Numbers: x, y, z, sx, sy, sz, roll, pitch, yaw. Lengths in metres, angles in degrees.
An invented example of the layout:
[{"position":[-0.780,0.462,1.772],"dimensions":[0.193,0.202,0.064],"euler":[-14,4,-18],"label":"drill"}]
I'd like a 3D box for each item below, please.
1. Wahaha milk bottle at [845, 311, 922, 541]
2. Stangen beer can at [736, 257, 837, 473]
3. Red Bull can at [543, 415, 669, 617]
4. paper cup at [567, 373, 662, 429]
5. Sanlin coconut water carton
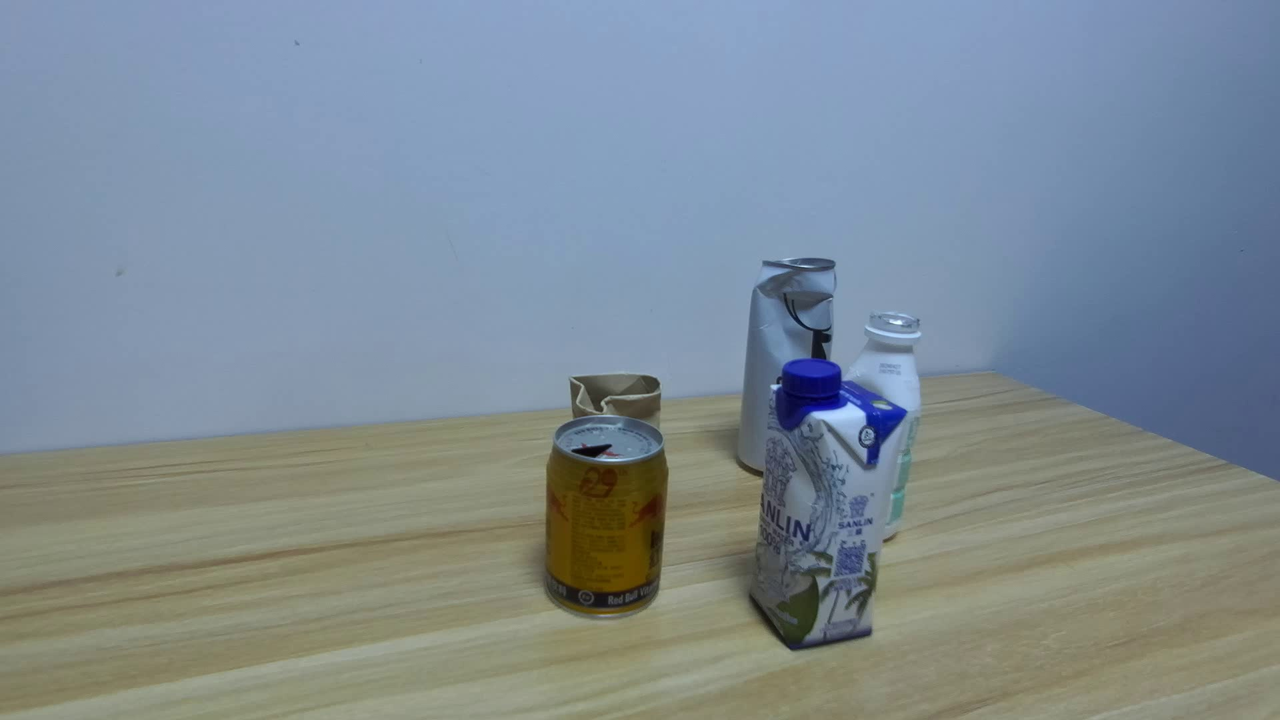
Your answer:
[{"position":[0.157,0.043,0.461],"dimensions":[0.055,0.149,0.055],"euler":[2,21,-1],"label":"Wahaha milk bottle"},{"position":[0.114,0.006,0.544],"dimensions":[0.066,0.166,0.066],"euler":[6,18,11],"label":"Stangen beer can"},{"position":[-0.019,0.085,0.389],"dimensions":[0.067,0.093,0.067],"euler":[4,18,-1],"label":"Red Bull can"},{"position":[-0.013,0.058,0.493],"dimensions":[0.066,0.083,0.058],"euler":[-4,22,-13],"label":"paper cup"},{"position":[0.095,0.071,0.366],"dimensions":[0.061,0.144,0.060],"euler":[-2,17,-19],"label":"Sanlin coconut water carton"}]
